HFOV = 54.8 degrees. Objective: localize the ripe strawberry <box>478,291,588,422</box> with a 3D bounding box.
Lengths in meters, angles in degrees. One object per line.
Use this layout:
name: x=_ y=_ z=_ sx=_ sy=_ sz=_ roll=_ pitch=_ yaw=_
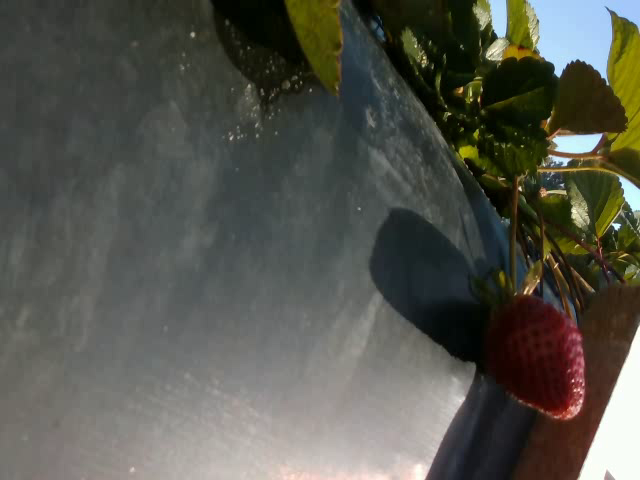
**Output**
ripe strawberry: x=0.052 y=0.031 z=0.149 sx=0.033 sy=0.035 sz=0.038 roll=-38 pitch=29 yaw=11
